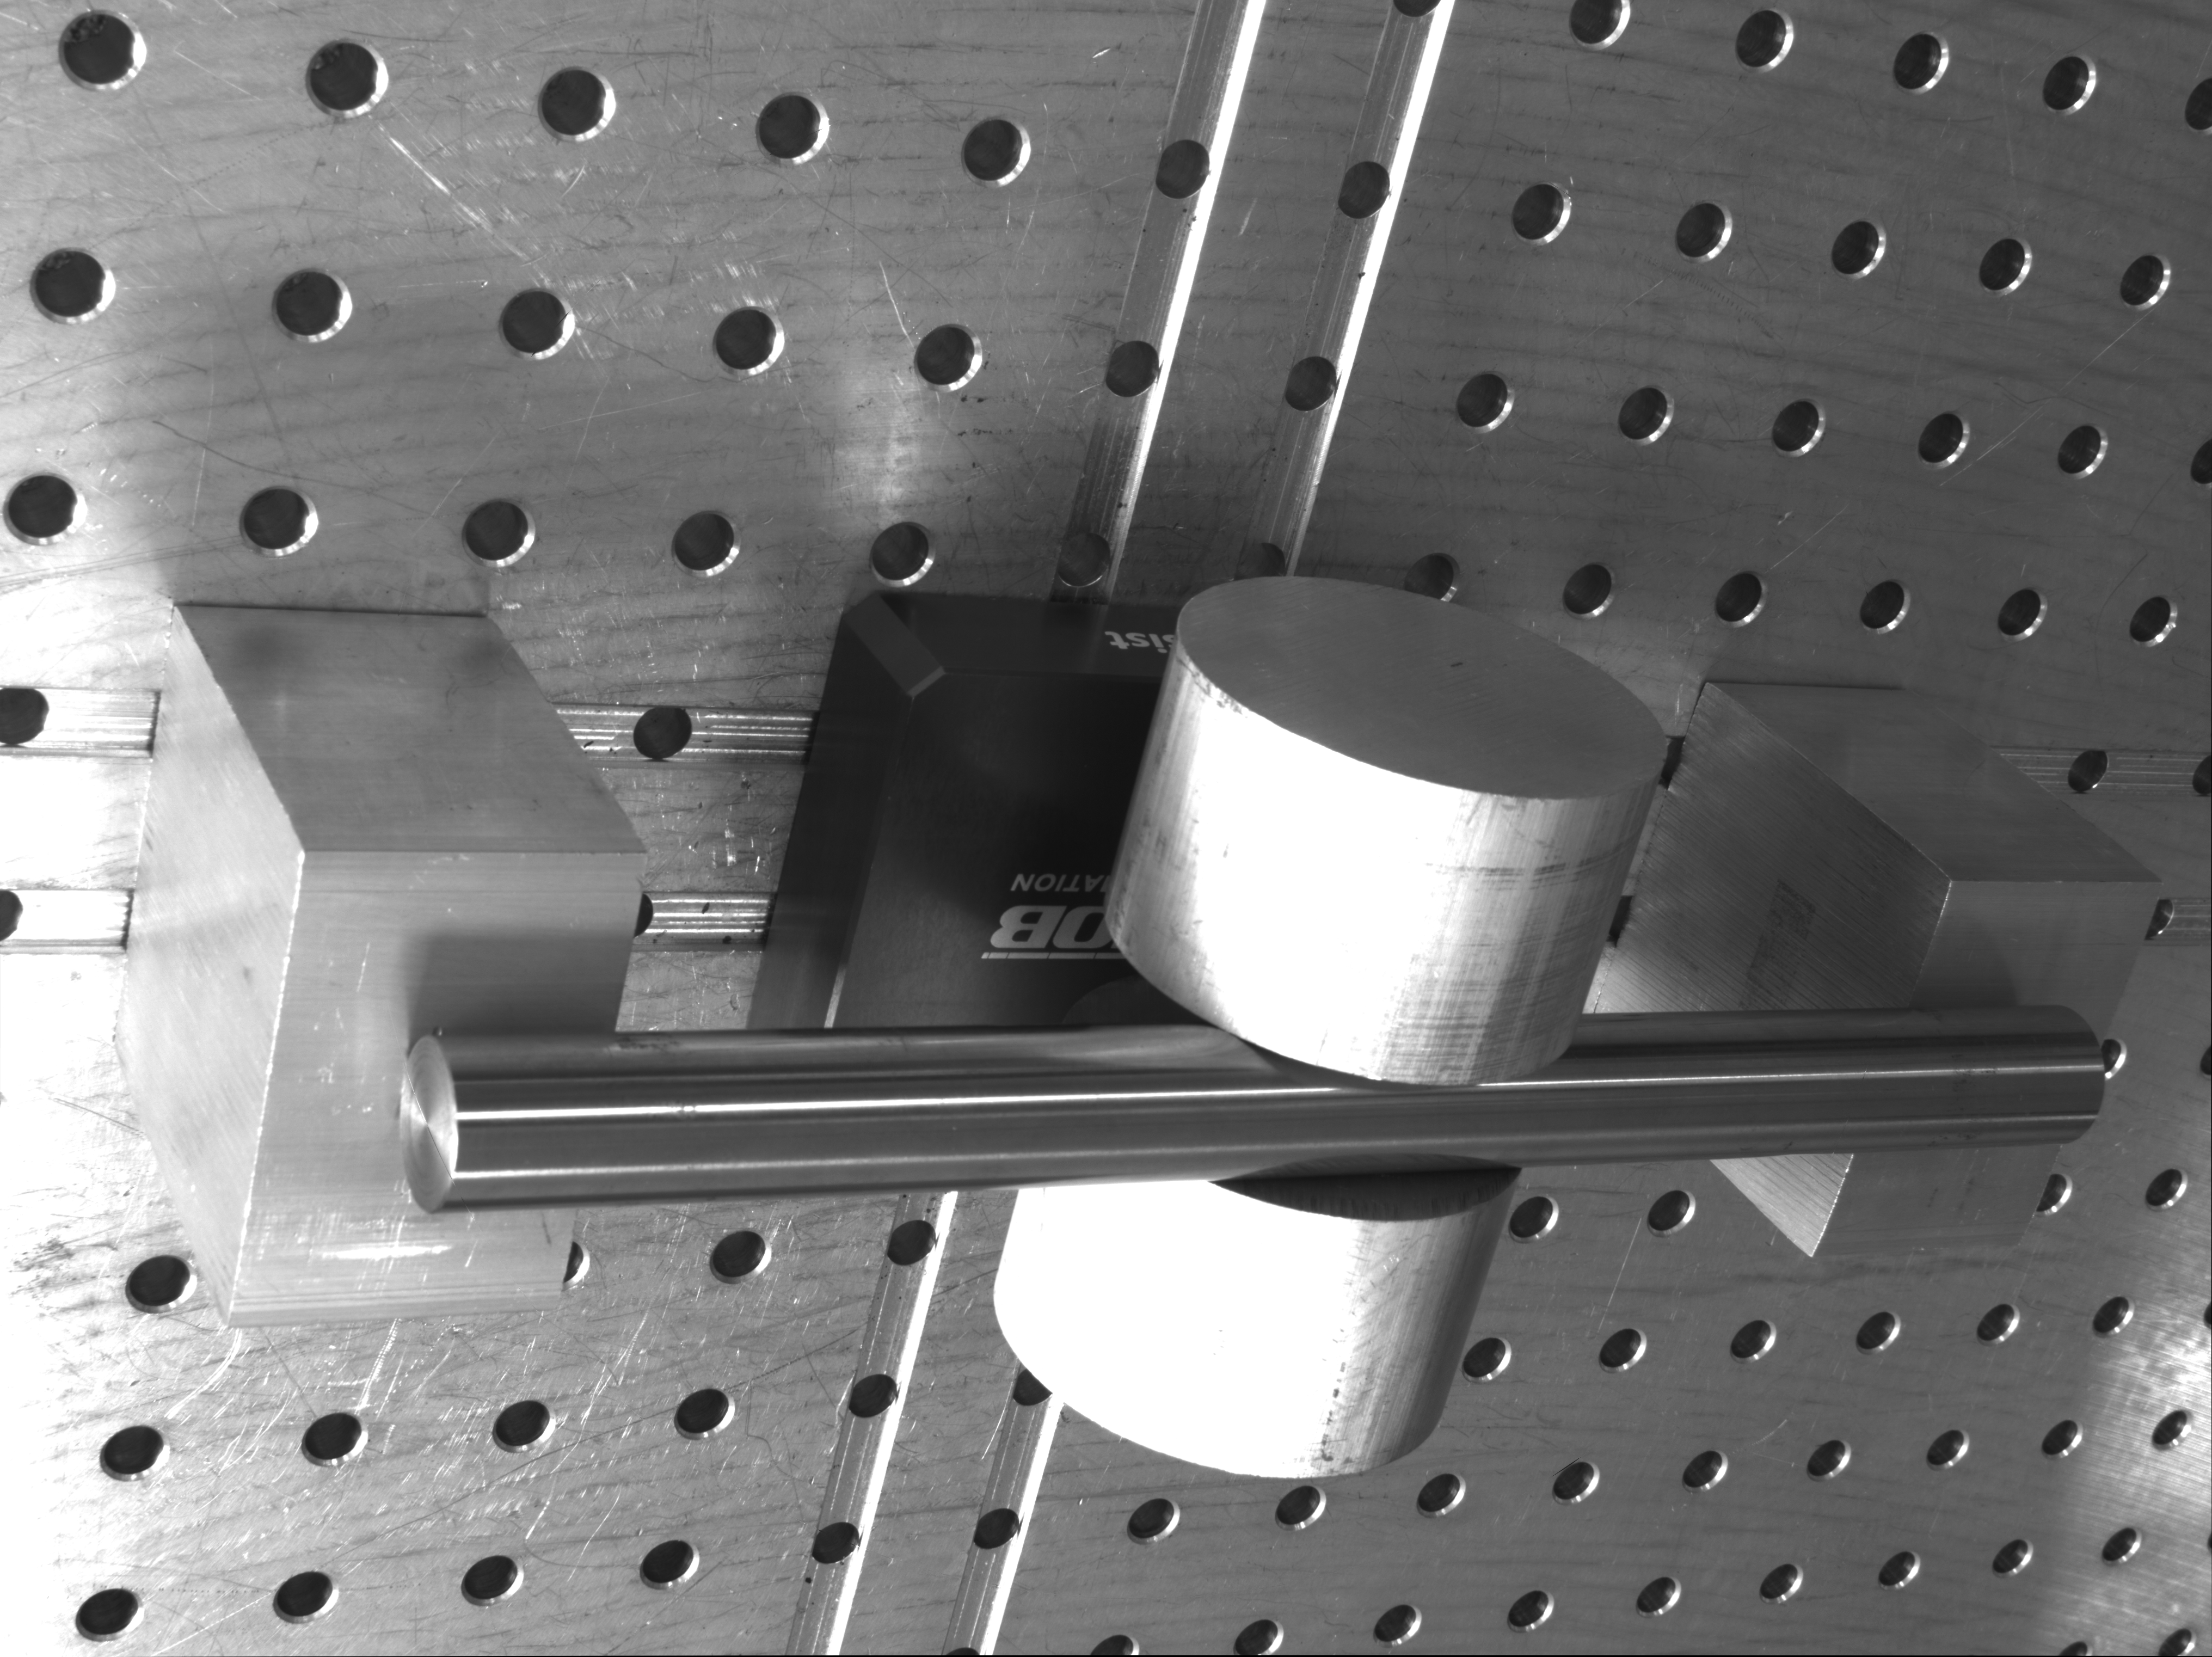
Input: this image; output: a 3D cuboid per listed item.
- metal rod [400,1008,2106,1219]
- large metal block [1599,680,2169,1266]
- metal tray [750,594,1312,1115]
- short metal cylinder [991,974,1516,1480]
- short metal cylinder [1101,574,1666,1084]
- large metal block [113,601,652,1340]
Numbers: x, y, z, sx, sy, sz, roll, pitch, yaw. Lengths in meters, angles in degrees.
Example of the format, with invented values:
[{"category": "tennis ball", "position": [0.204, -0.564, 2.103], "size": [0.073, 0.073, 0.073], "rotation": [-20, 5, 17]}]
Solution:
[{"category": "metal rod", "position": [0.037, 0.043, 0.583], "size": [0.301, 0.025, 0.025], "rotation": [1, 118, -29]}, {"category": "large metal block", "position": [0.144, 0.026, 0.697], "size": [0.050, 0.080, 0.080], "rotation": [1, 118, -28]}, {"category": "metal tray", "position": [0.009, 0.008, 0.647], "size": [0.130, 0.030, 0.090], "rotation": [1, 118, -29]}, {"category": "short metal cylinder", "position": [0.025, 0.065, 0.620], "size": [0.080, 0.080, 0.050], "rotation": [1, 118, -28]}, {"category": "short metal cylinder", "position": [0.044, -0.001, 0.589], "size": [0.080, 0.080, 0.050], "rotation": [1, 118, -28]}, {"category": "large metal block", "position": [-0.112, 0.020, 0.555], "size": [0.050, 0.080, 0.080], "rotation": [1, 118, -28]}]
